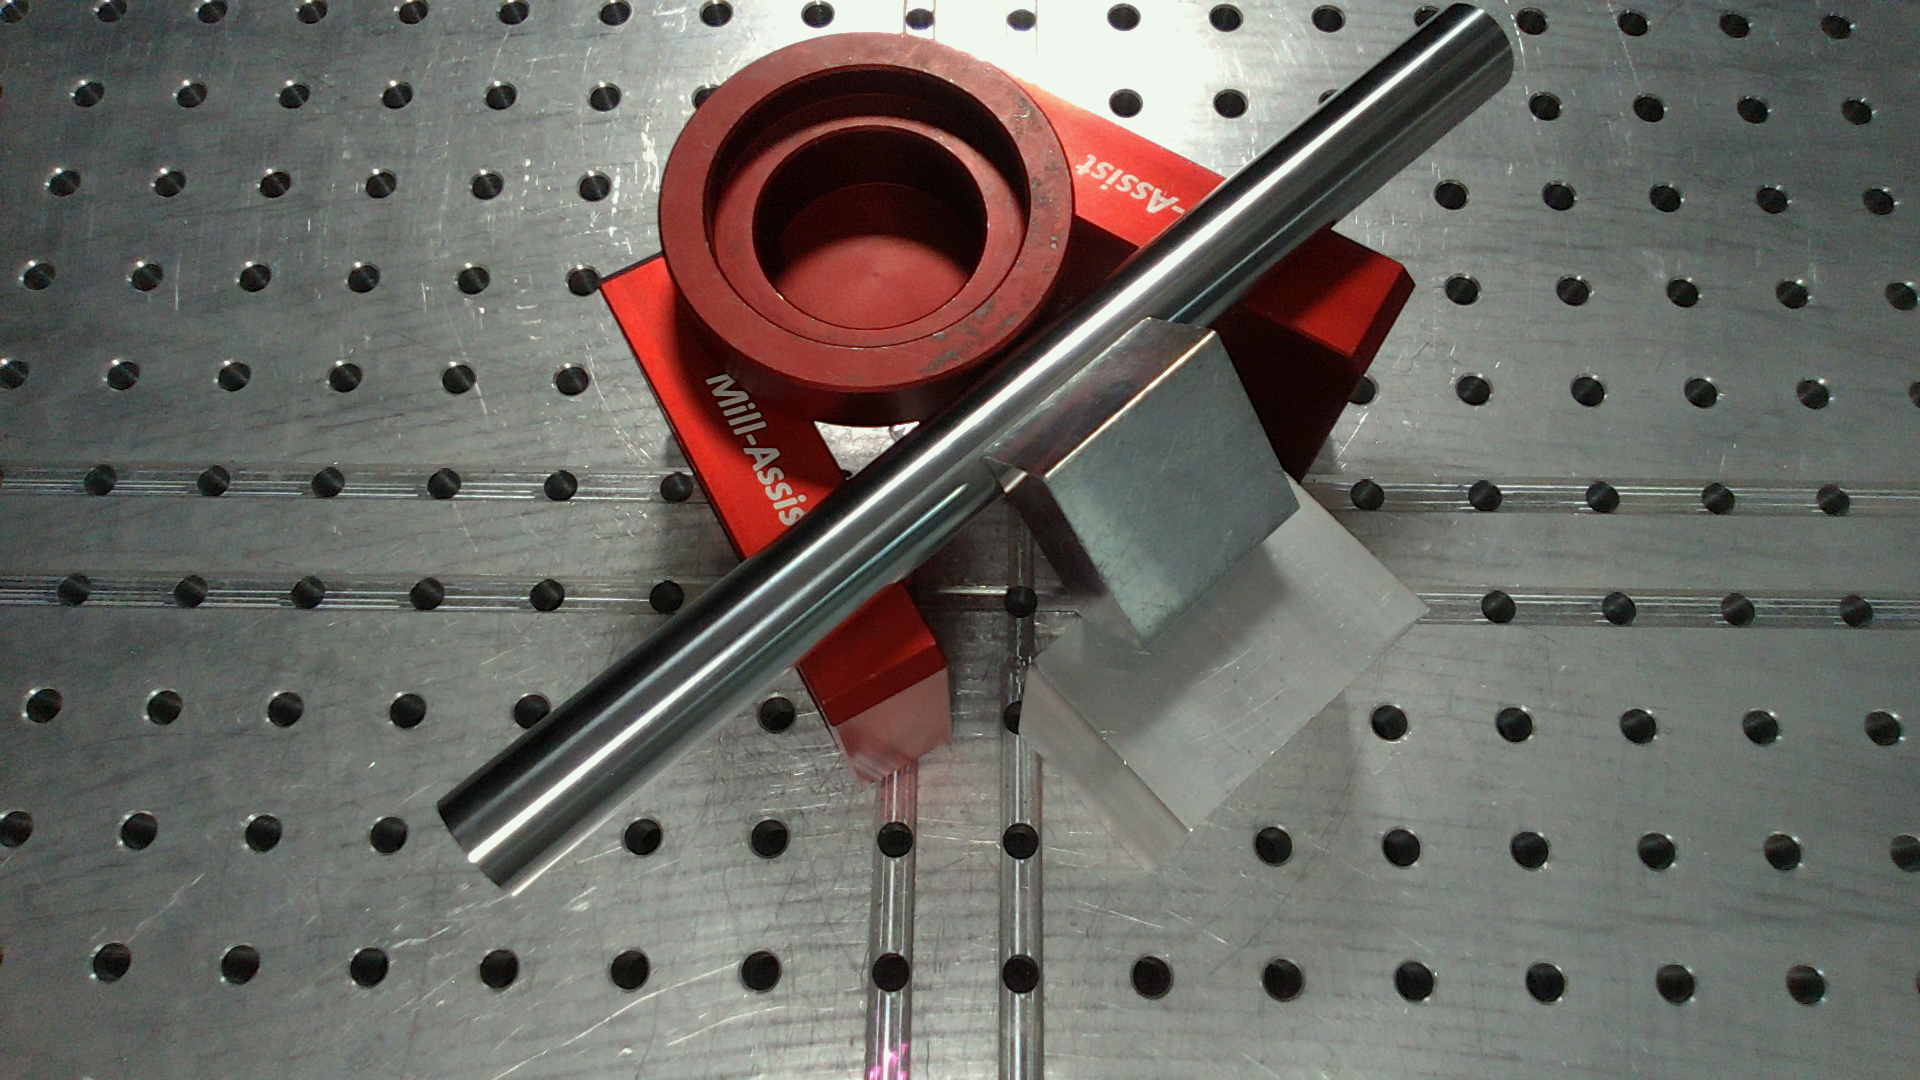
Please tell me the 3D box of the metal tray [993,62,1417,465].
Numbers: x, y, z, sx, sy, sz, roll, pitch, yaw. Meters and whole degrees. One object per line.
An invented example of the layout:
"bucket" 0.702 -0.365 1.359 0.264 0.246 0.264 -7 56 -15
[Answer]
"metal tray" 0.051 -0.071 0.387 0.130 0.090 0.030 30 74 10

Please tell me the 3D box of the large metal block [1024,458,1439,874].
"large metal block" 0.064 0.035 0.352 0.080 0.080 0.050 -40 75 -13

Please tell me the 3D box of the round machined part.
"round machined part" -0.022 -0.073 0.341 0.098 0.042 0.098 0 70 0

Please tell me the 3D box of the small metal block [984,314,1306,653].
"small metal block" 0.041 -0.013 0.302 0.050 0.050 0.025 -41 30 -13

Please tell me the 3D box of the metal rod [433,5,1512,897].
"metal rod" 0.015 -0.030 0.312 0.300 0.025 0.025 -39 75 -13

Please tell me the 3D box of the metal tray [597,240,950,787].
"metal tray" -0.047 -0.005 0.364 0.030 0.090 0.130 -28 72 -9
